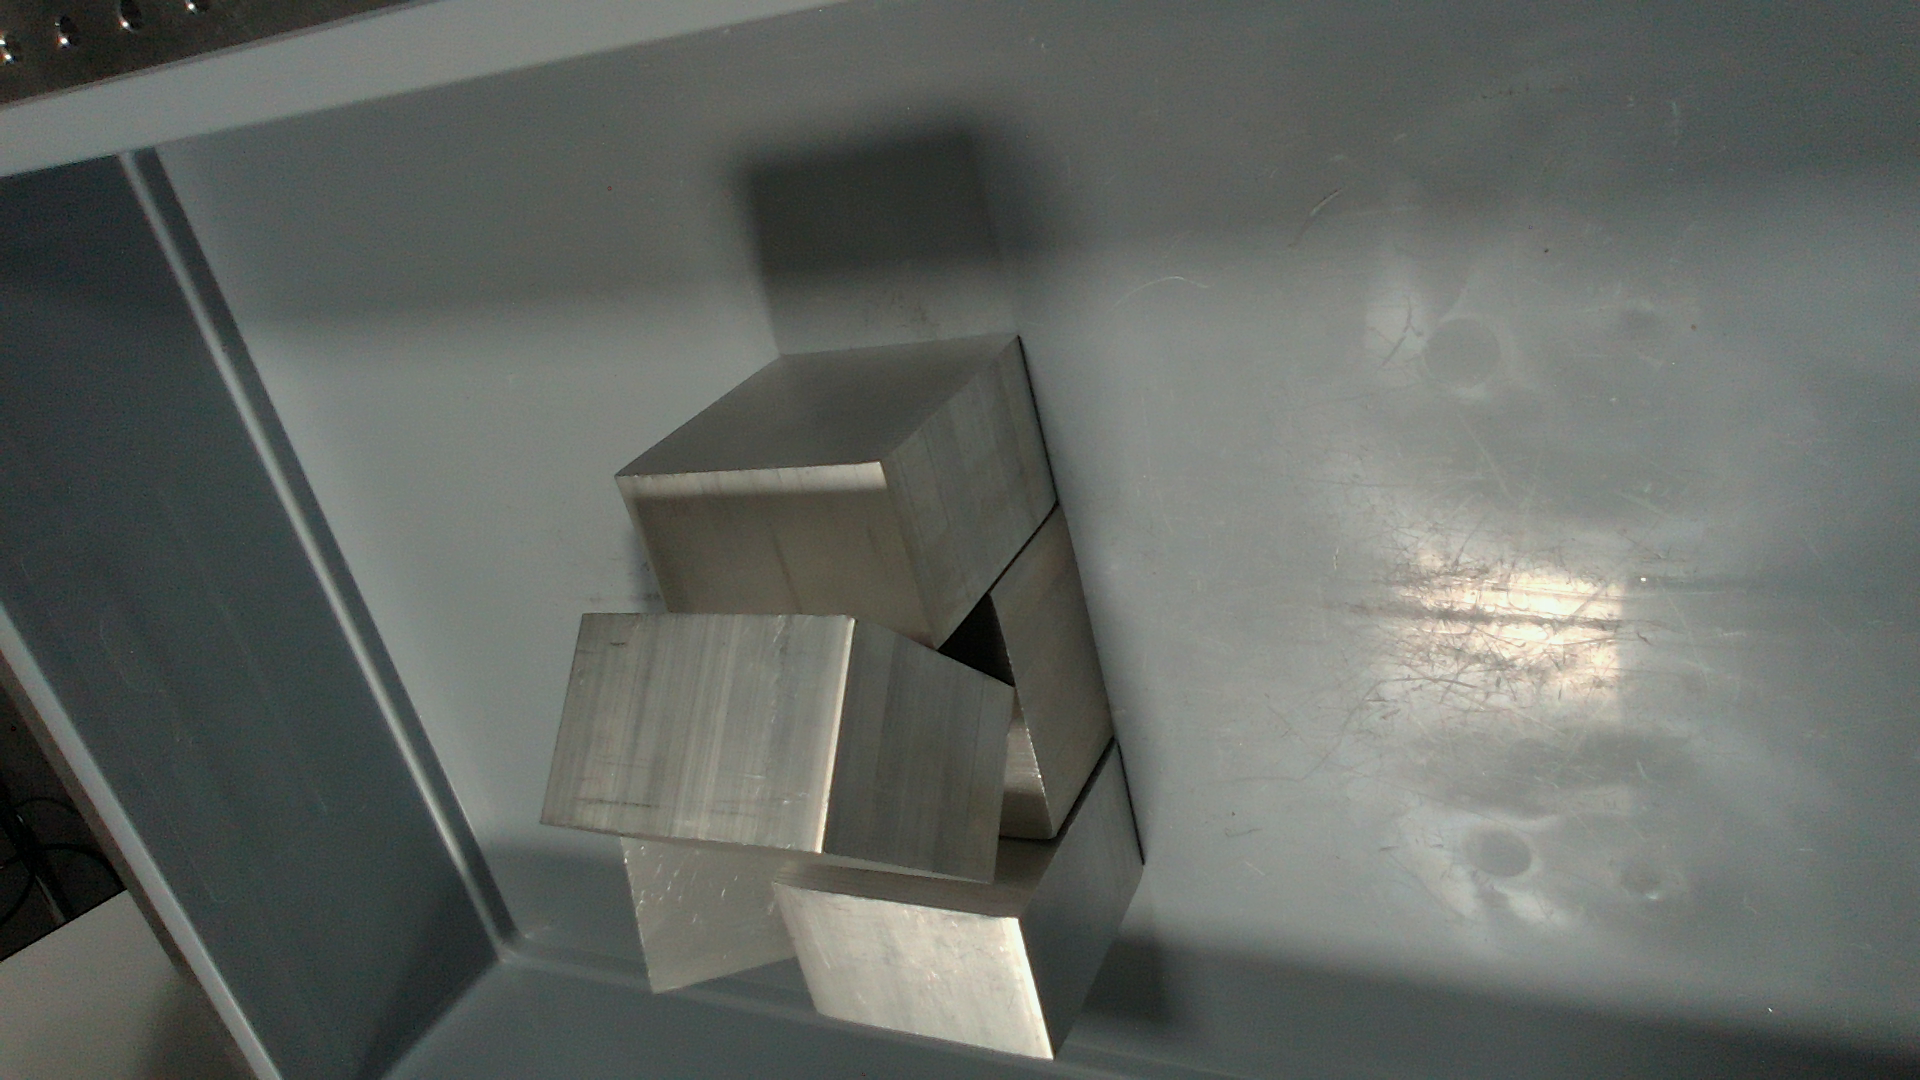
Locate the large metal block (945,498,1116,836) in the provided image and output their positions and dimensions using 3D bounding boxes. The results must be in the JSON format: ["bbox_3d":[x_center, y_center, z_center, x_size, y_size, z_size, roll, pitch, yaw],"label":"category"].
[{"bbox_3d":[-0.007,0.036,0.403,0.080,0.050,0.080,-1,118,29],"label":"large metal block"}]

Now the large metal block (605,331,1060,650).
[{"bbox_3d":[-0.030,-0.013,0.363,0.080,0.080,0.050,-1,118,29],"label":"large metal block"}]

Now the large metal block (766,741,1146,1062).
[{"bbox_3d":[0.002,0.102,0.417,0.080,0.080,0.050,0,119,28],"label":"large metal block"}]

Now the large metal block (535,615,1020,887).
[{"bbox_3d":[-0.041,0.053,0.338,0.080,0.080,0.050,-1,73,29],"label":"large metal block"}]

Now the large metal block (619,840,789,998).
[{"bbox_3d":[-0.084,0.083,0.442,0.050,0.080,0.080,-11,122,-14],"label":"large metal block"}]
